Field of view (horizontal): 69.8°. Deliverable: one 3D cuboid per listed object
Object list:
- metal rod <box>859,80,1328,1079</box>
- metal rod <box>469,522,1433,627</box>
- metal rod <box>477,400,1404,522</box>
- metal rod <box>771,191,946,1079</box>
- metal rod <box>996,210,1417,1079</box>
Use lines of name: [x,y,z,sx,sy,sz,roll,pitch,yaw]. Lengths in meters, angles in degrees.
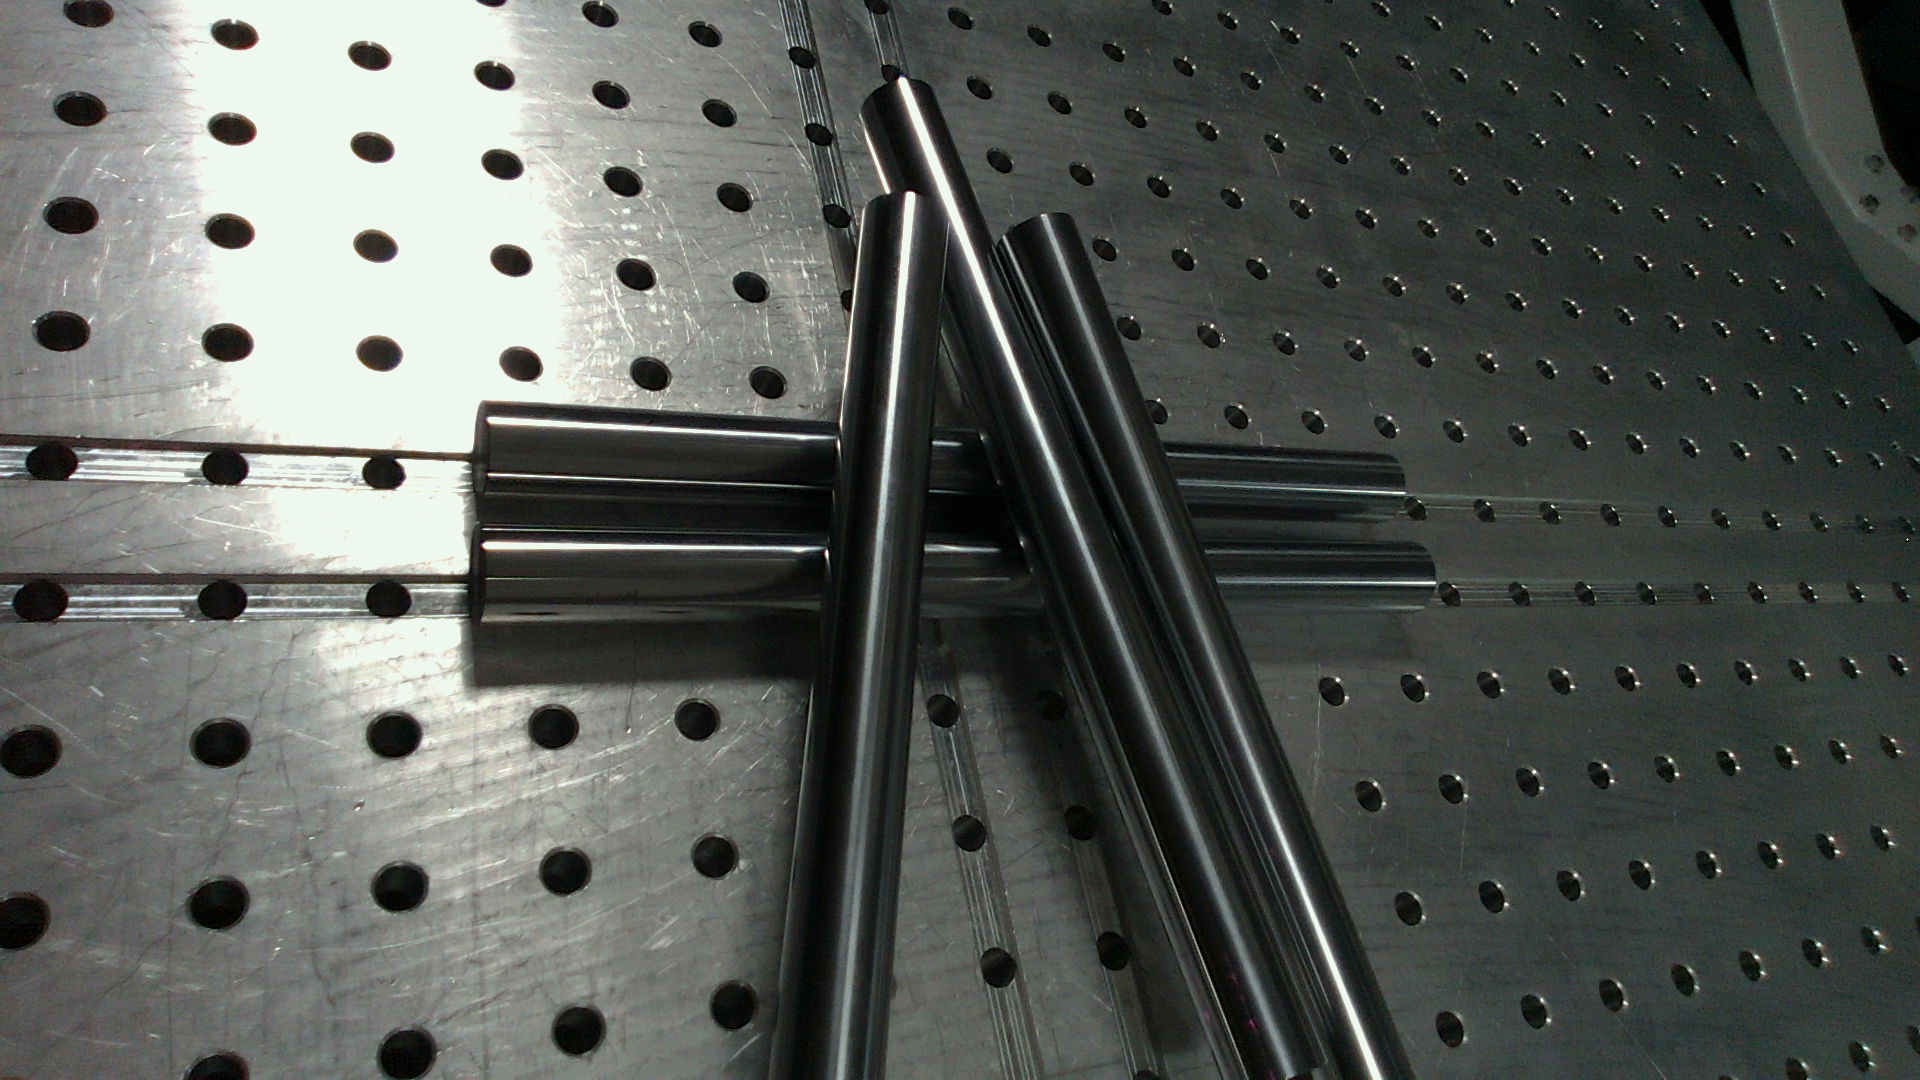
metal rod: [0.027,-0.004,0.379,0.025,0.025,0.300,-6,65,-31]
metal rod: [0.018,0.010,0.397,0.301,0.025,0.025,1,61,-28]
metal rod: [0.014,-0.021,0.413,0.301,0.025,0.025,1,61,-28]
metal rod: [-0.024,0.044,0.329,0.025,0.025,0.300,13,63,-21]
metal rod: [0.071,0.045,0.379,0.025,0.025,0.300,-11,74,-33]
